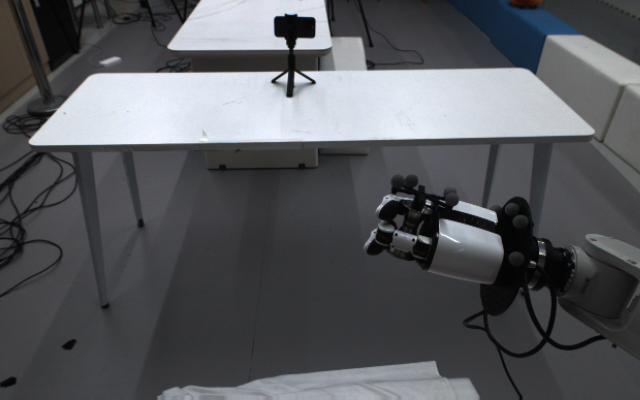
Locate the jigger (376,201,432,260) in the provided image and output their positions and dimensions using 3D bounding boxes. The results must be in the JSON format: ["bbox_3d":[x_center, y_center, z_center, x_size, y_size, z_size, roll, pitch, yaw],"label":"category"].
[{"bbox_3d":[0.119,0.039,0.639,0.043,0.071,0.043,15,16,-5],"label":"jigger"}]
